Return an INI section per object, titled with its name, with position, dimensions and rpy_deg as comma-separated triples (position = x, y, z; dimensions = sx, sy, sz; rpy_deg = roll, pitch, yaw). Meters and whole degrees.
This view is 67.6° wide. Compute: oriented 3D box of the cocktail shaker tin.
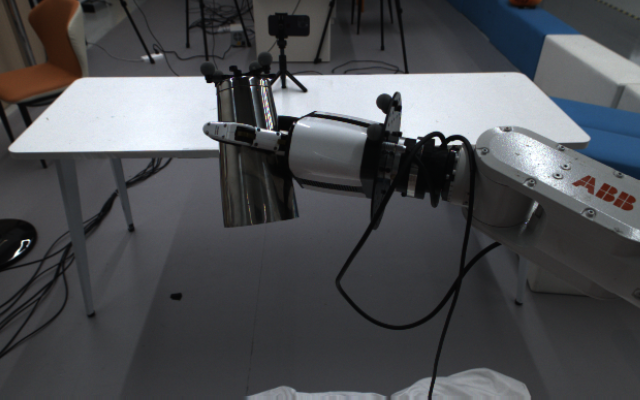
[cocktail shaker tin]
position = -0.082, -0.057, 0.587
dimensions = 0.093, 0.170, 0.093
rpy_deg = -8, 1, 0
